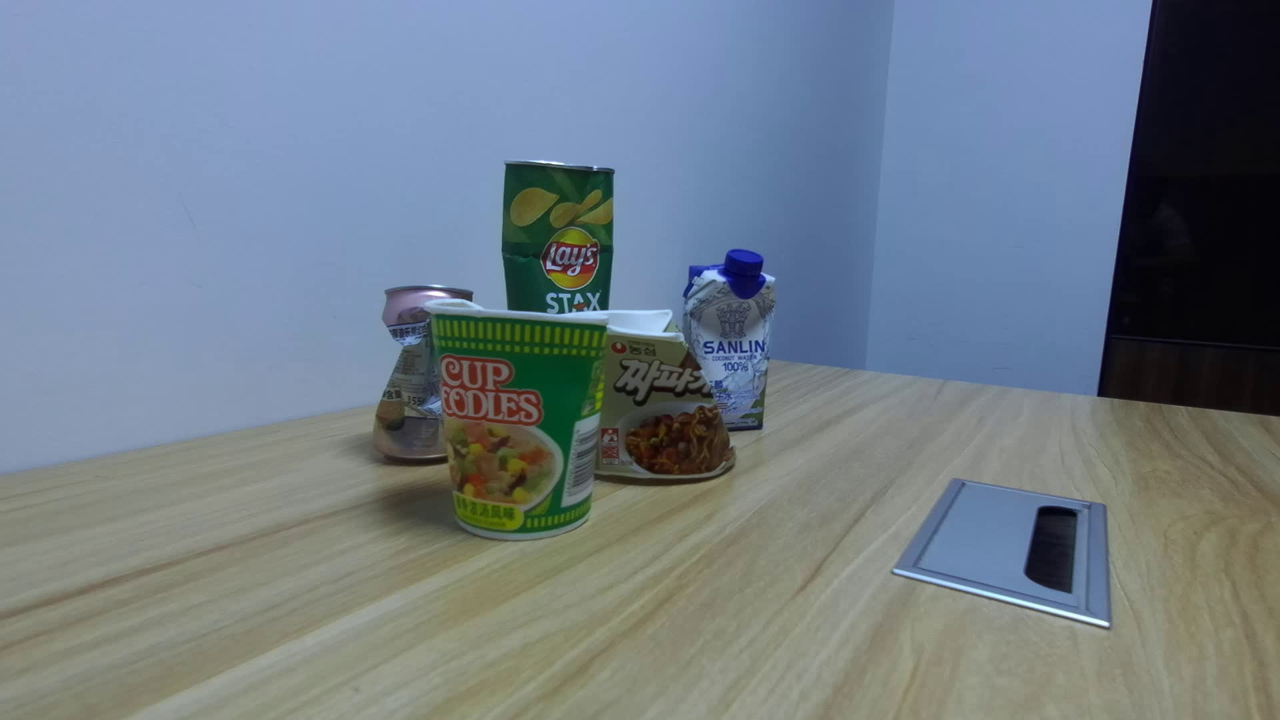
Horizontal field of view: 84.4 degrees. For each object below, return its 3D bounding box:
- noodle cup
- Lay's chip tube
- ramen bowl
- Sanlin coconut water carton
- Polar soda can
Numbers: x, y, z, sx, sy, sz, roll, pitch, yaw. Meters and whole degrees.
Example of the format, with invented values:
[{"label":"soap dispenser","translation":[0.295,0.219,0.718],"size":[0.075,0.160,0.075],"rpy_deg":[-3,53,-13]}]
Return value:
[{"label":"noodle cup","translation":[-0.060,0.025,0.353],"size":[0.075,0.122,0.082],"rpy_deg":[-9,22,-19]},{"label":"Lay's chip tube","translation":[-0.063,-0.051,0.557],"size":[0.069,0.199,0.075],"rpy_deg":[4,10,14]},{"label":"ramen bowl","translation":[-0.001,0.019,0.463],"size":[0.137,0.098,0.137],"rpy_deg":[2,7,0]},{"label":"Sanlin coconut water carton","translation":[0.068,-0.015,0.555],"size":[0.078,0.142,0.057],"rpy_deg":[-2,15,-24]},{"label":"Polar soda can","translation":[-0.141,0.008,0.466],"size":[0.074,0.114,0.070],"rpy_deg":[11,5,43]}]
